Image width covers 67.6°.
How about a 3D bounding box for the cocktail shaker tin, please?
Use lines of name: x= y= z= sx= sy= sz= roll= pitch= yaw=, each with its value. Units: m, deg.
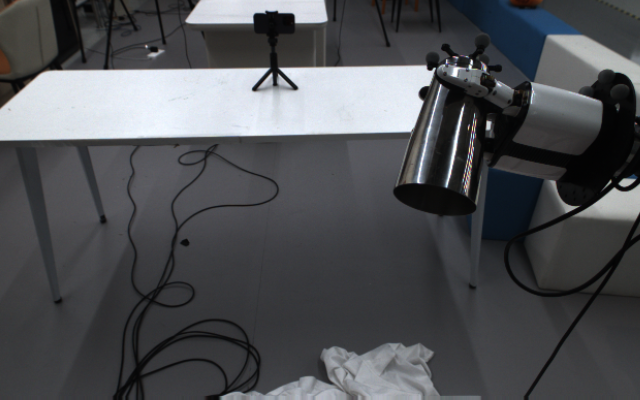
cocktail shaker tin: x=0.151 y=-0.079 z=0.563 sx=0.093 sy=0.093 sz=0.170 roll=12 pitch=72 yaw=14
